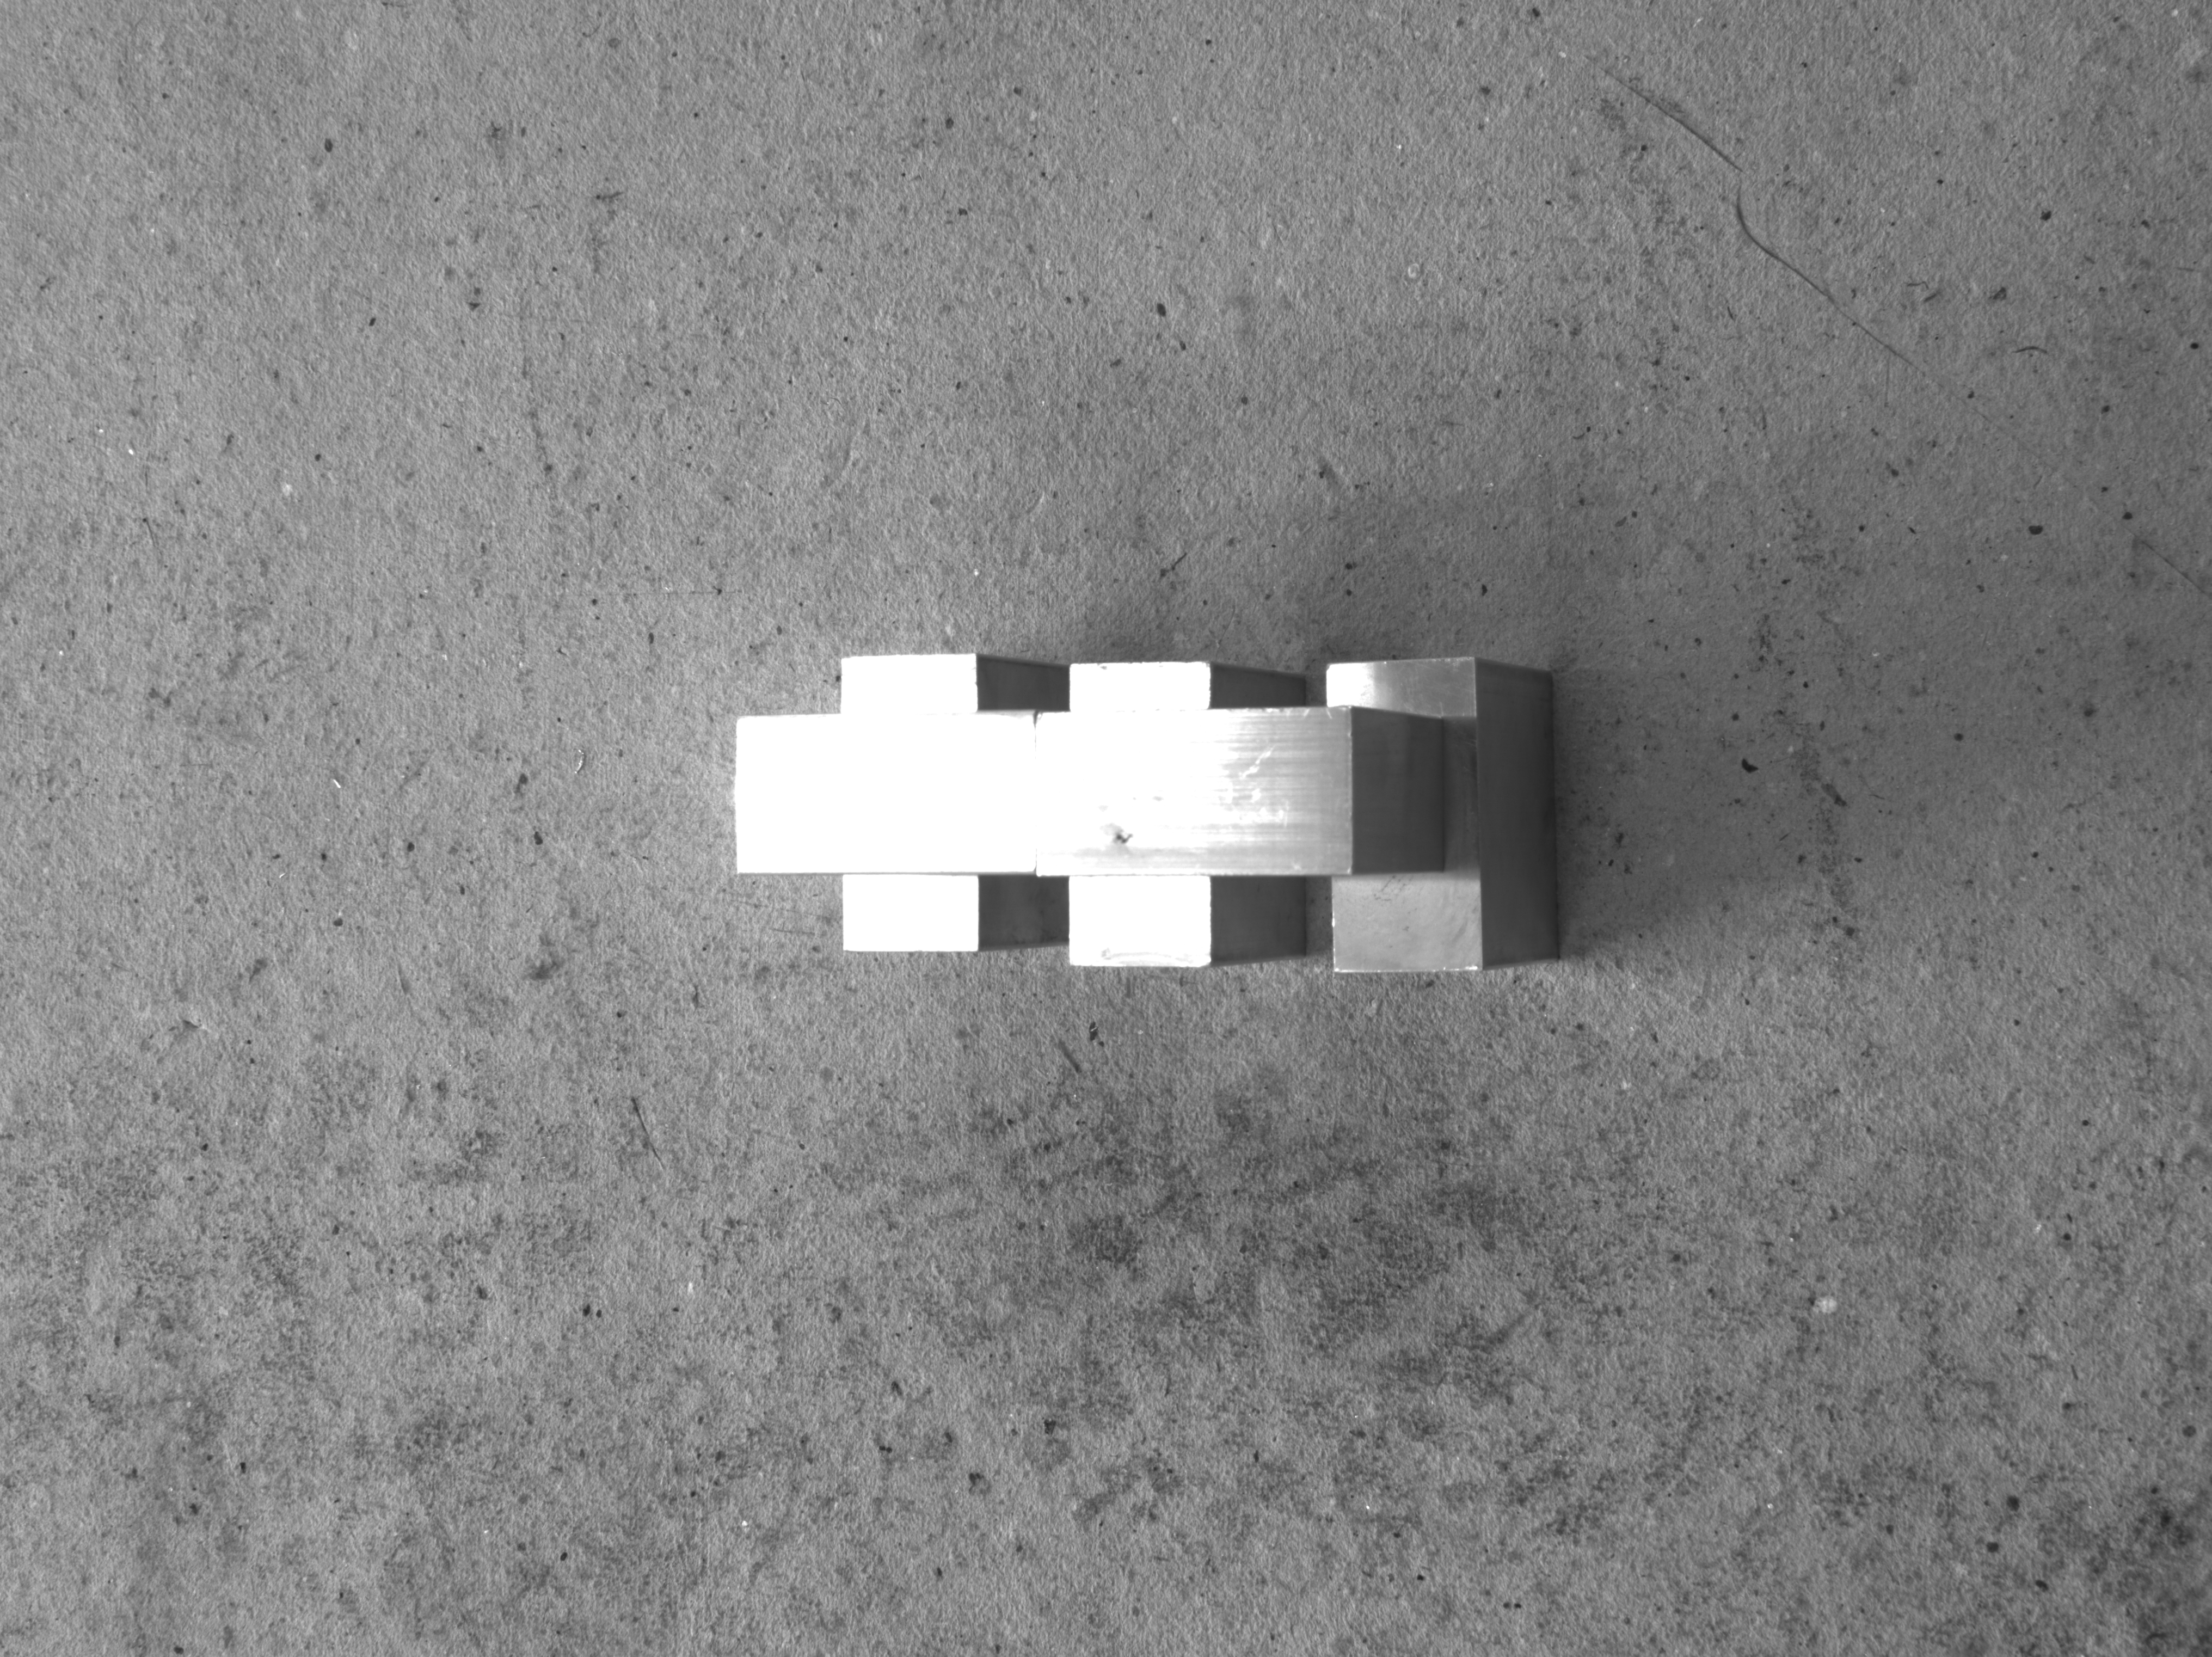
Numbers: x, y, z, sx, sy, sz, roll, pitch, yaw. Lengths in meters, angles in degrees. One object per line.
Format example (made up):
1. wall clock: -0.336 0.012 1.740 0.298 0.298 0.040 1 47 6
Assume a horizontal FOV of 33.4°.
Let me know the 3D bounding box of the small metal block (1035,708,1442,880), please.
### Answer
1. small metal block: 0.021 -0.005 0.572 0.050 0.050 0.025 0 90 20

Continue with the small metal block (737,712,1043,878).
1. small metal block: -0.025 -0.005 0.590 0.050 0.050 0.025 0 90 20

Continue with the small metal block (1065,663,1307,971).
1. small metal block: 0.014 -0.002 0.629 0.025 0.050 0.050 -1 89 21

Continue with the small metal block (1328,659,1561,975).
1. small metal block: 0.057 -0.001 0.613 0.025 0.050 0.050 -1 89 21

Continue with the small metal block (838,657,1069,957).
1. small metal block: -0.025 -0.003 0.642 0.025 0.050 0.050 -1 89 21
